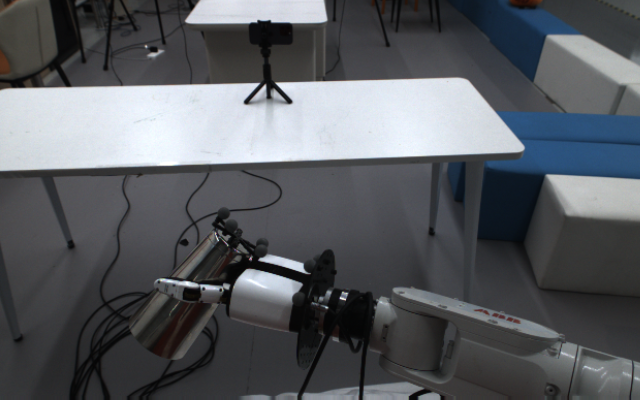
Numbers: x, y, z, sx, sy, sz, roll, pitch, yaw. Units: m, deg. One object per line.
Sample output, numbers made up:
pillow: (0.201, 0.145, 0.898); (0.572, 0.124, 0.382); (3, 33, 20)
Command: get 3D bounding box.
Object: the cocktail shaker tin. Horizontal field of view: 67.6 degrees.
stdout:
cocktail shaker tin: (-0.172, 0.121, 0.672); (0.170, 0.093, 0.093); (-50, 45, 5)
